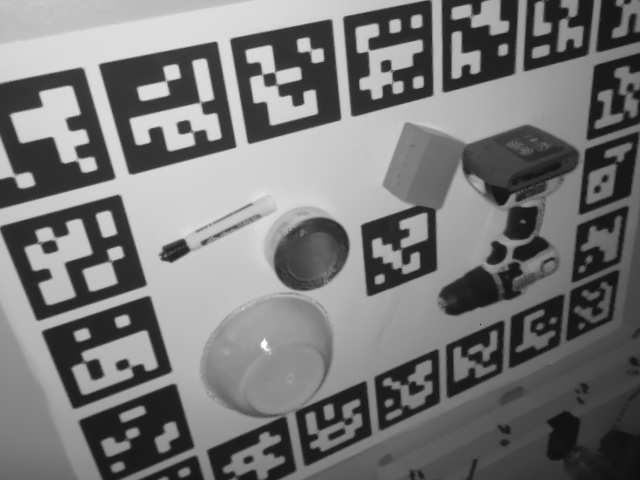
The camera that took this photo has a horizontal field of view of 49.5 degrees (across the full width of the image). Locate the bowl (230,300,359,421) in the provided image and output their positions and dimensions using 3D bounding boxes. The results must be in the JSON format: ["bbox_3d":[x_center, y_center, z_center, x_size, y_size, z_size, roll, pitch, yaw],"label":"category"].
[{"bbox_3d":[-0.016,0.148,0.775,0.164,0.055,0.160,-17,127,-22],"label":"bowl"}]

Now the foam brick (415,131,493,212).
[{"bbox_3d":[0.141,-0.072,0.745,0.052,0.052,0.077,7,109,-27],"label":"foam brick"}]

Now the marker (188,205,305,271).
[{"bbox_3d":[-0.072,-0.001,0.683,0.122,0.019,0.019,-26,121,-13],"label":"marker"}]

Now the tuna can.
[{"bbox_3d":[0.015,0.022,0.730,0.087,0.033,0.085,-10,118,-19],"label":"tuna can"}]

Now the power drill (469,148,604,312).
[{"bbox_3d":[0.262,-0.005,0.831,0.186,0.057,0.186,-17,123,-14],"label":"power drill"}]
